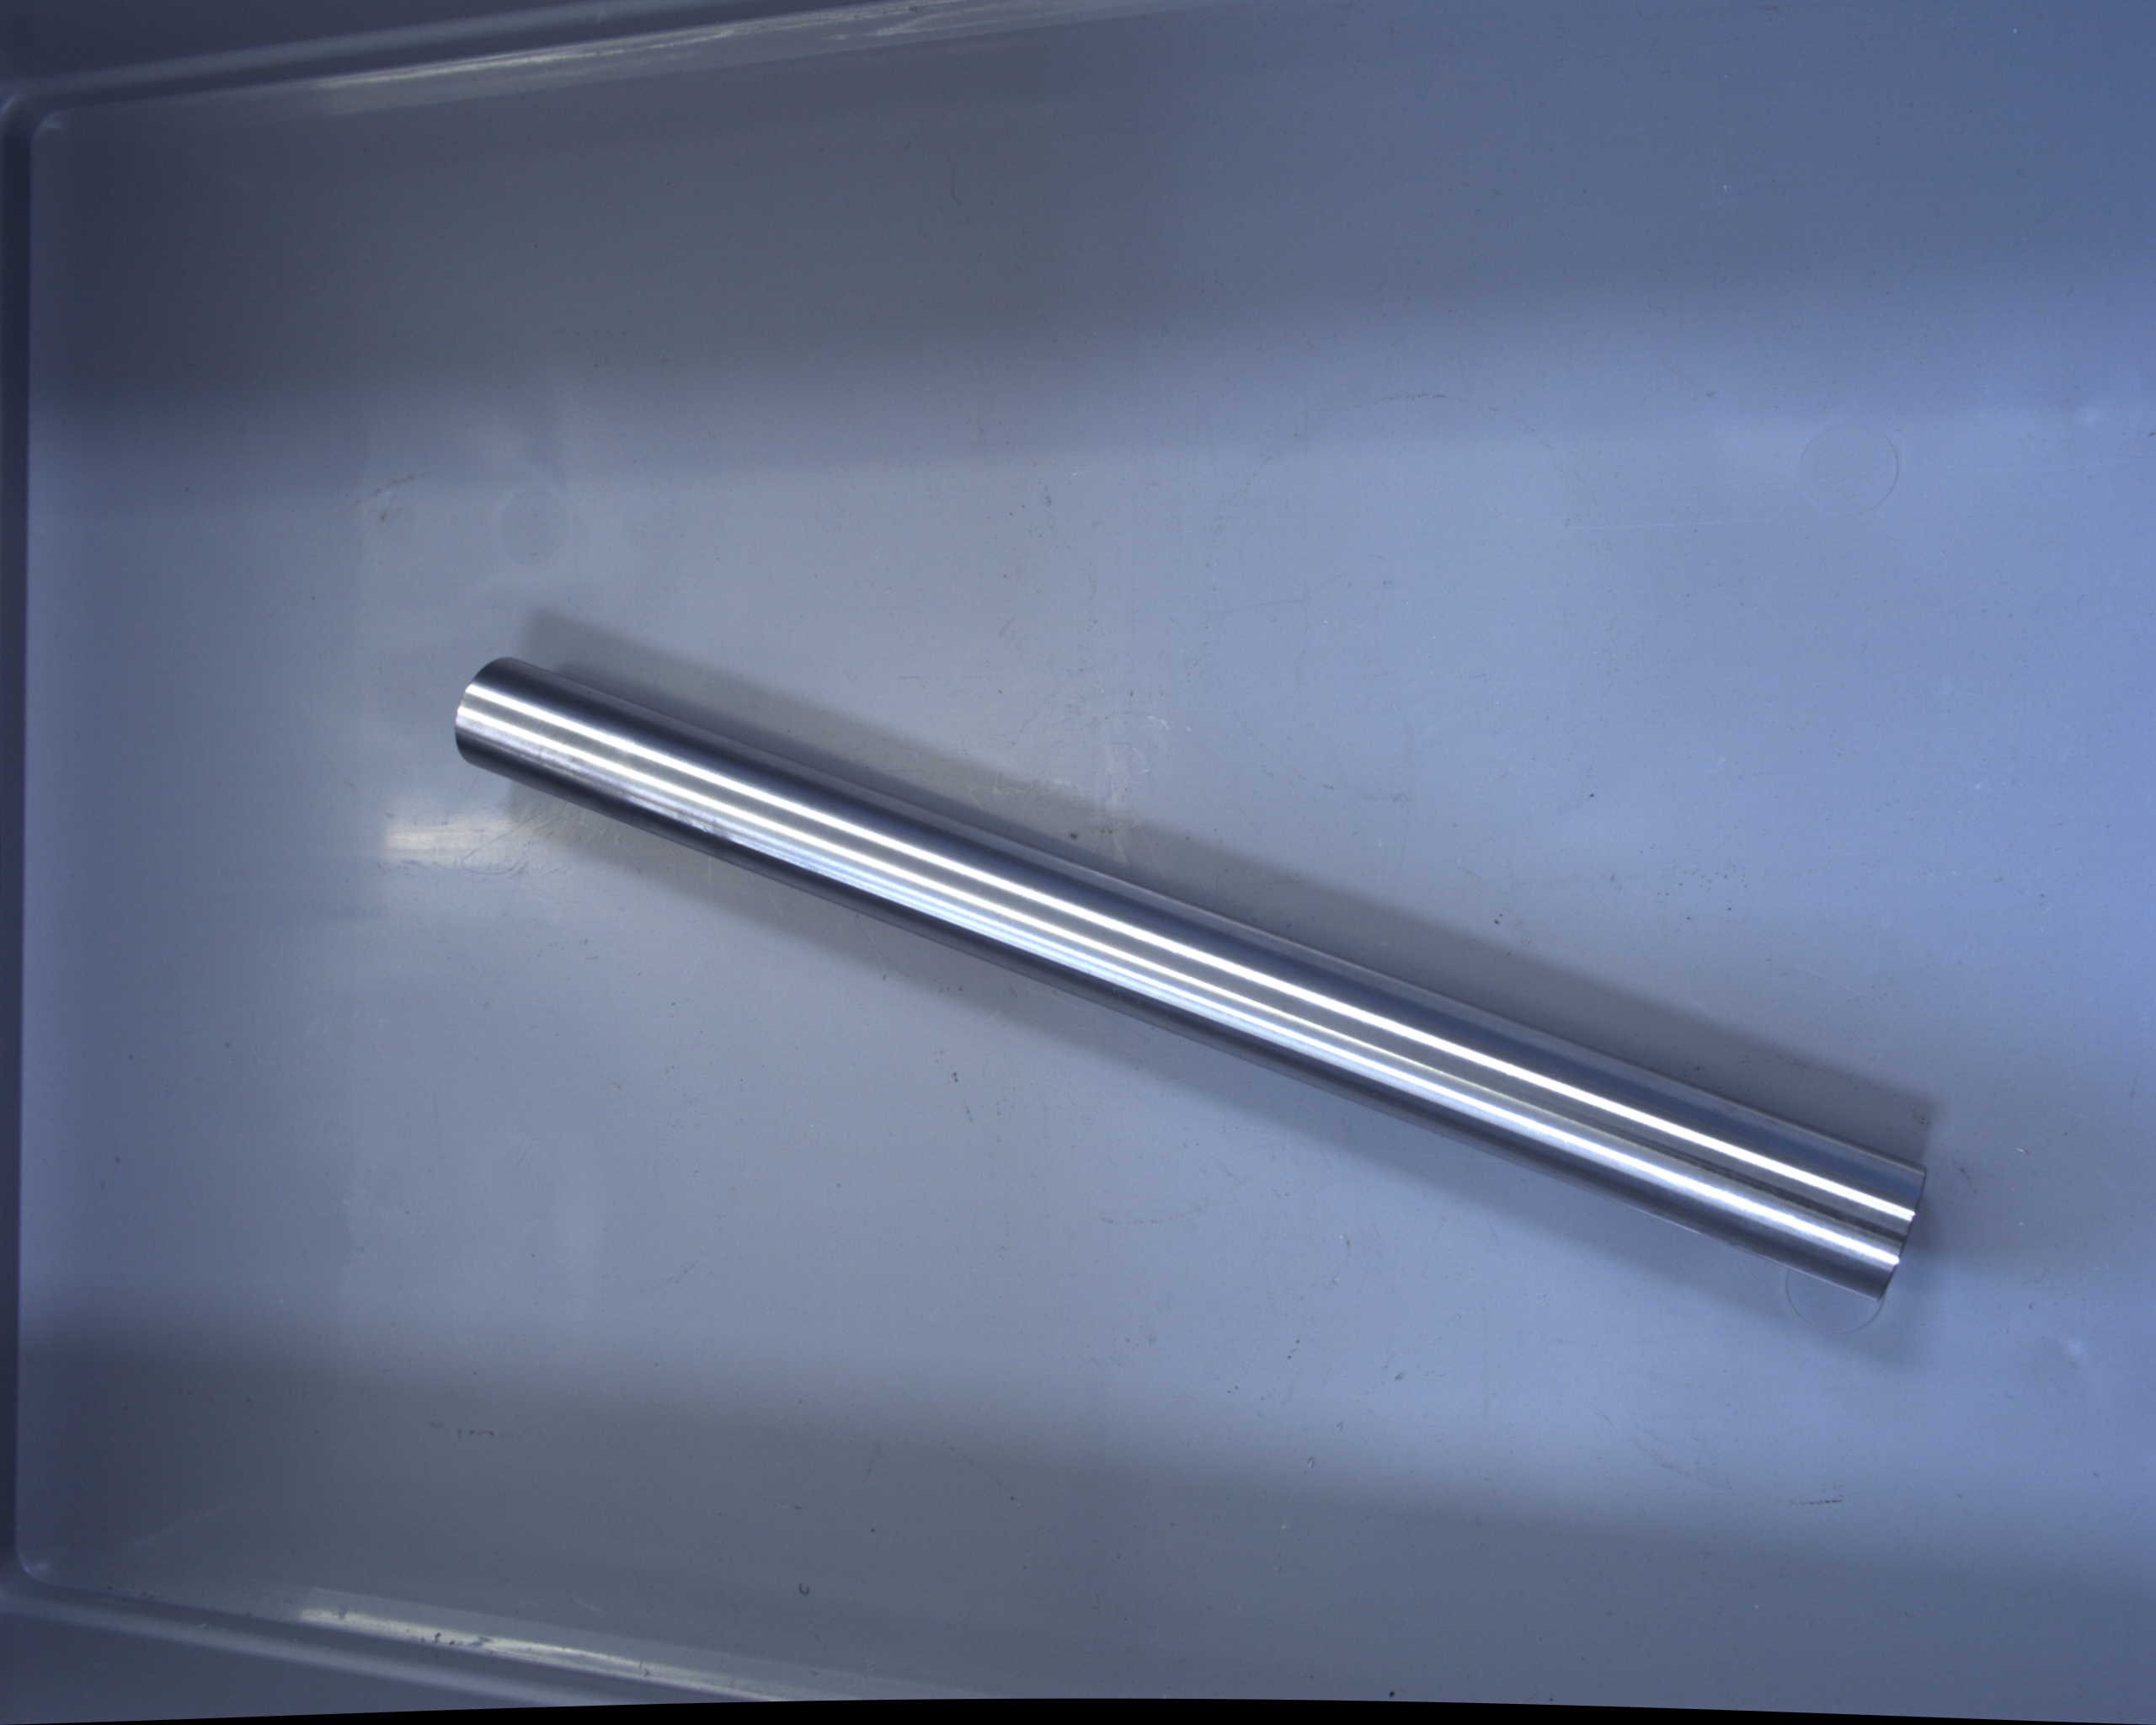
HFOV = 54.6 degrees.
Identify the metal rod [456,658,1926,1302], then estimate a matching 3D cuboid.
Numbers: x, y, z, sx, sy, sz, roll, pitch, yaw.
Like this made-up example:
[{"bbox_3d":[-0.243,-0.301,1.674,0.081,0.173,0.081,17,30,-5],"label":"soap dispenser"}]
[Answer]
[{"bbox_3d":[0.007,0.016,0.406,0.301,0.025,0.025,20,97,19],"label":"metal rod"}]
